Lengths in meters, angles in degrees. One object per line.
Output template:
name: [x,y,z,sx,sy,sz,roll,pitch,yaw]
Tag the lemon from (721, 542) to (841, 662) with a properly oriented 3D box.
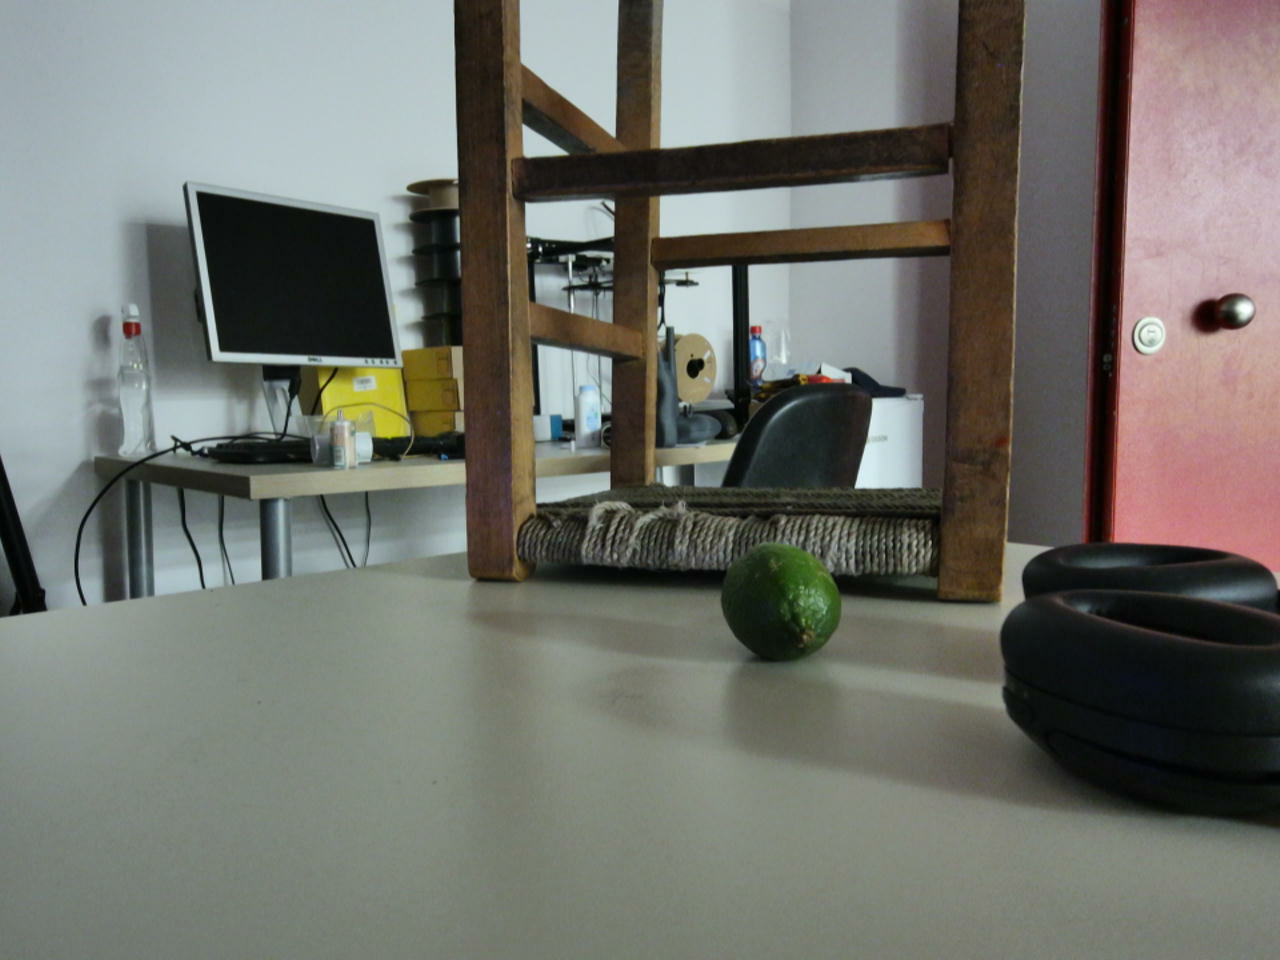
lemon: [0.065,0.054,0.454,0.054,0.051,0.057,-3,4,-44]
